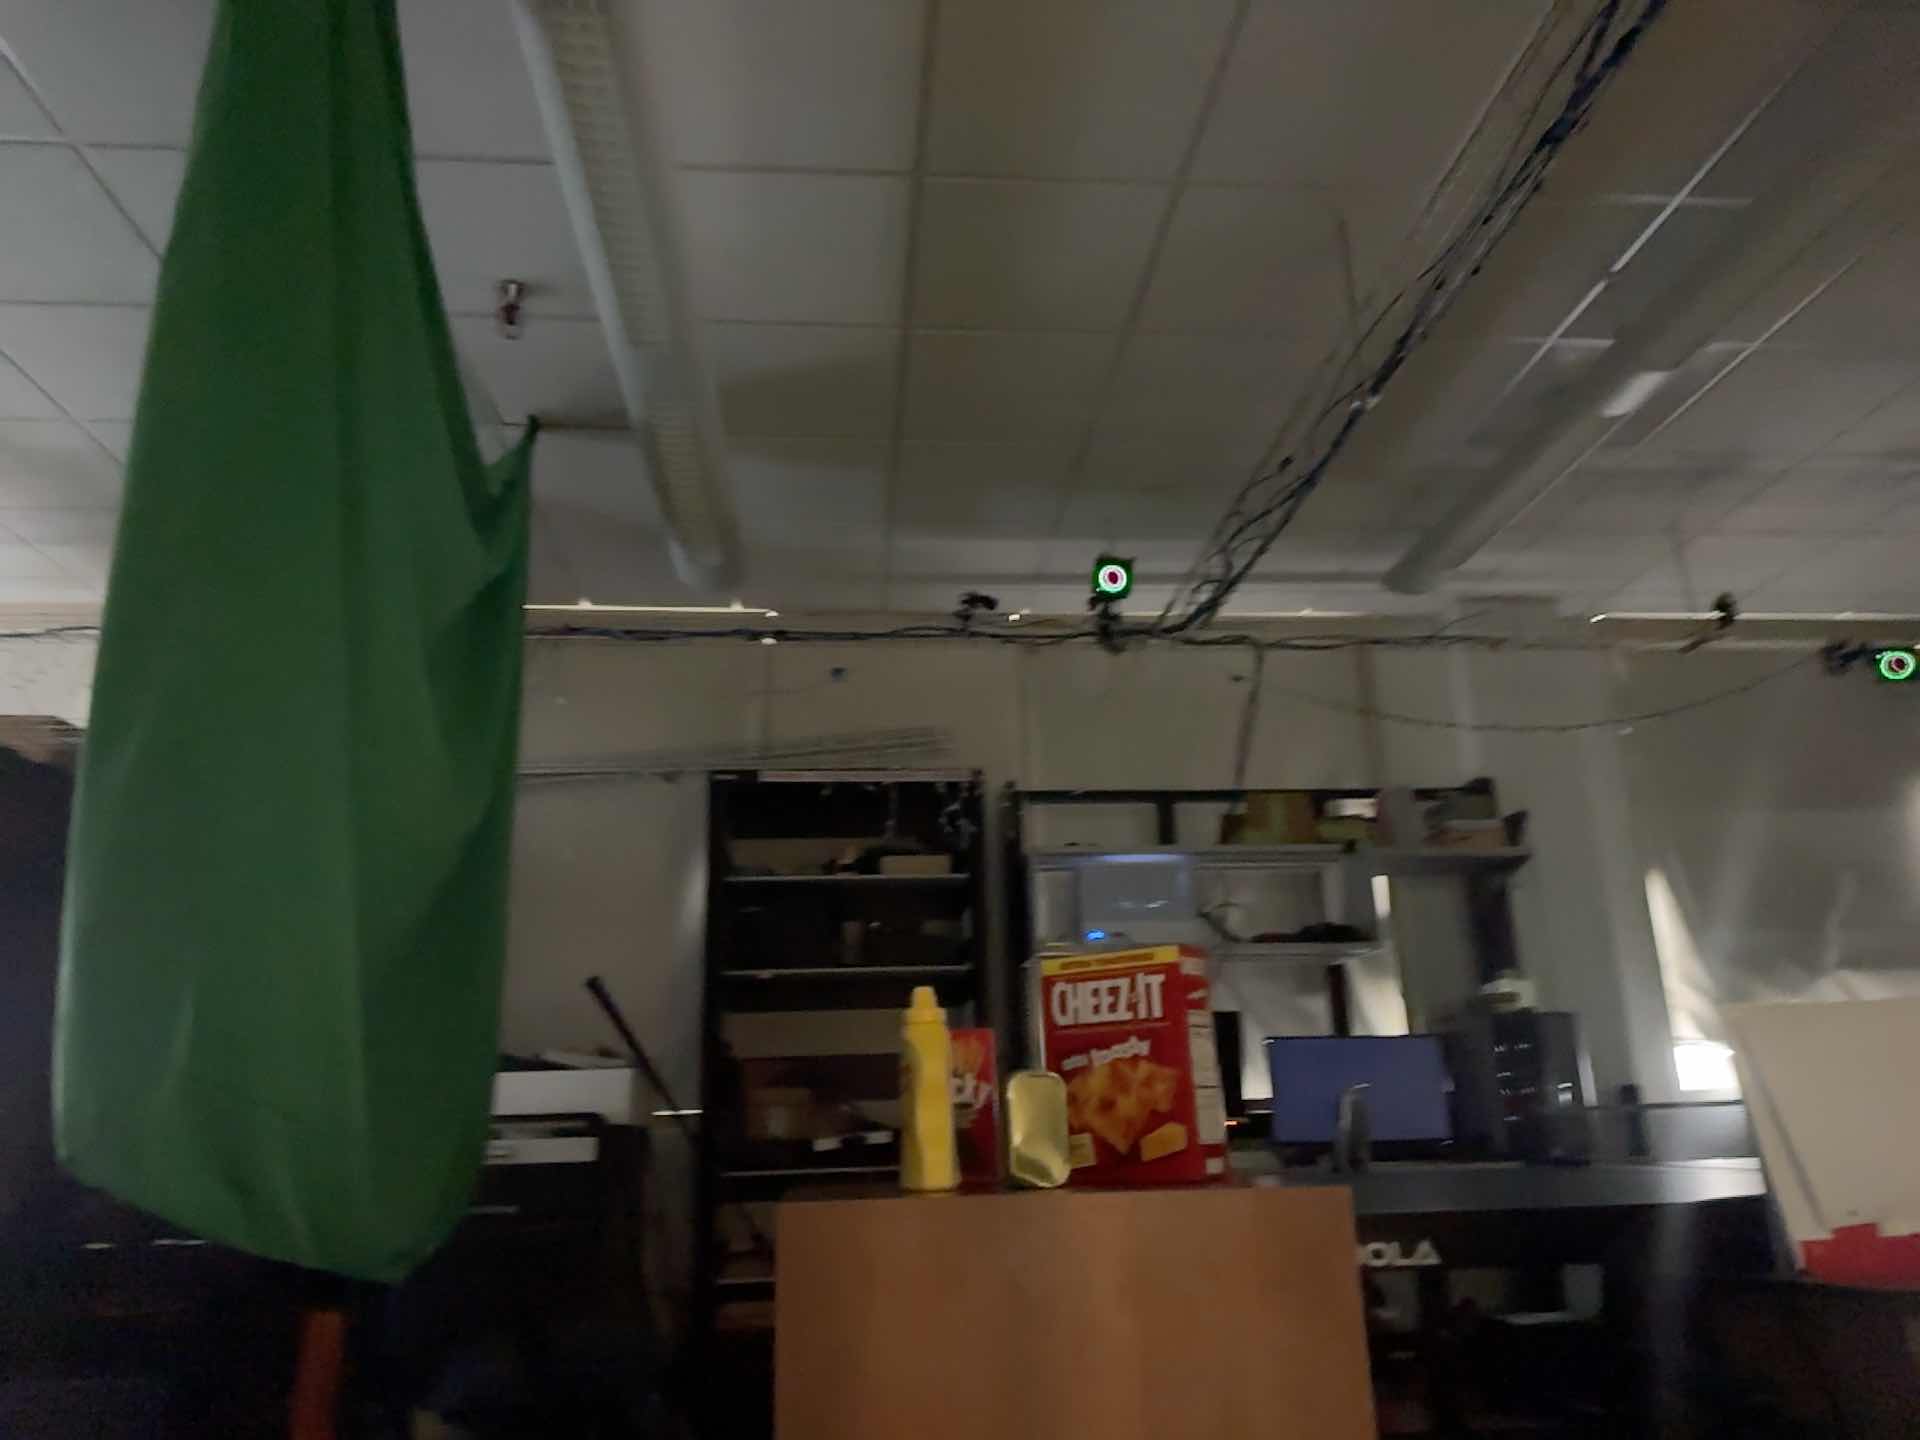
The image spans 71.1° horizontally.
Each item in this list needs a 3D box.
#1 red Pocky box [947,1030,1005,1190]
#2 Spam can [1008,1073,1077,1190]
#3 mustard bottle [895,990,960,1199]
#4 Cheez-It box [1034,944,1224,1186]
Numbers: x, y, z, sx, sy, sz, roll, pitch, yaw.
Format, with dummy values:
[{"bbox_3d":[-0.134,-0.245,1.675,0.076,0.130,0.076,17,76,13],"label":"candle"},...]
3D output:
[{"bbox_3d":[0.000,0.393,1.358,0.083,0.155,0.028,-5,-17,8],"label":"red Pocky box"},{"bbox_3d":[0.074,0.372,1.220,0.056,0.100,0.083,-2,-16,0],"label":"Spam can"},{"bbox_3d":[-0.032,0.342,1.238,0.054,0.184,0.092,-1,-17,-7],"label":"mustard bottle"},{"bbox_3d":[0.163,0.339,1.320,0.159,0.214,0.062,-9,-17,24],"label":"Cheez-It box"}]
